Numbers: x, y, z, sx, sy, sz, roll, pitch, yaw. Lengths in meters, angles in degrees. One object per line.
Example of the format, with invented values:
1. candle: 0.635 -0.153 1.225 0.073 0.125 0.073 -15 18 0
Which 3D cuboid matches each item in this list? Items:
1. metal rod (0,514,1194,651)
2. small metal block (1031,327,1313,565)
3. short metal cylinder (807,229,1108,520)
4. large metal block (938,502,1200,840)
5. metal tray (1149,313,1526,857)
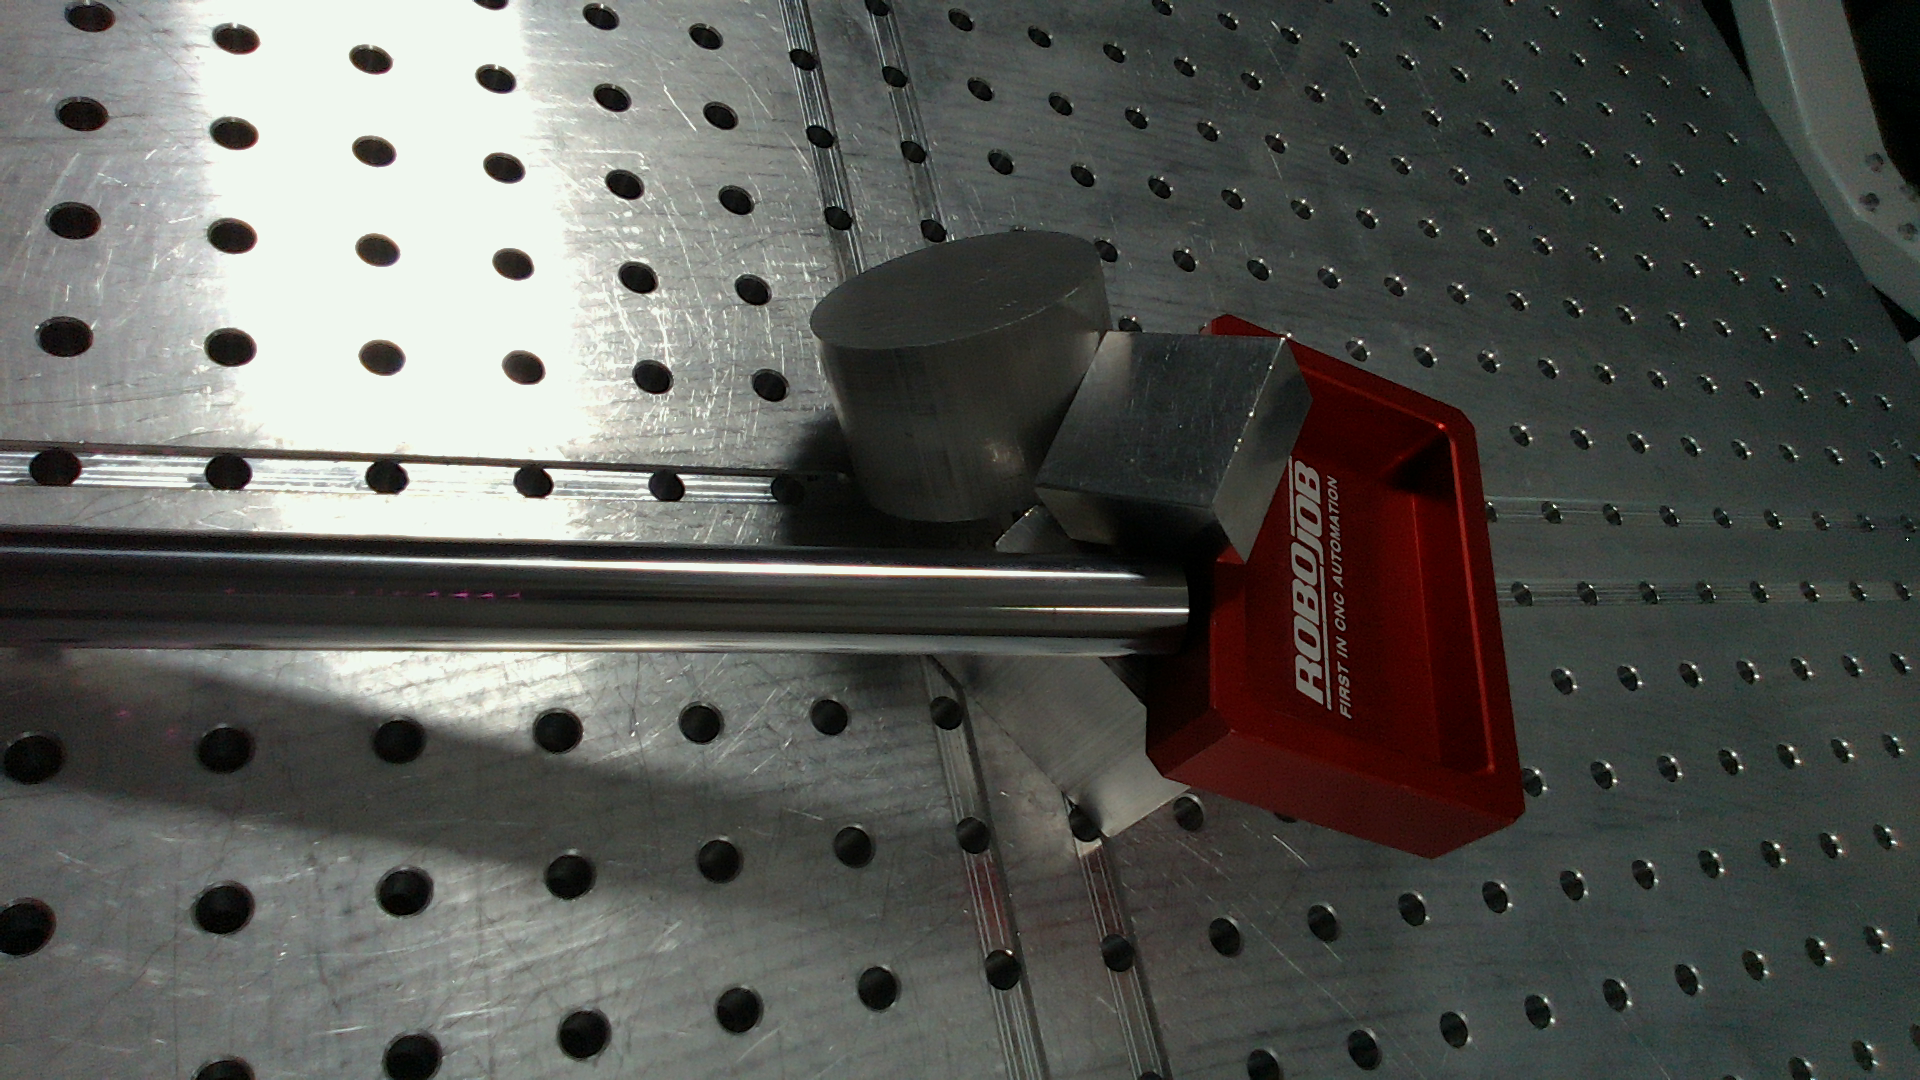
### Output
1. metal rod: -0.093 0.010 0.298 0.301 0.025 0.025 2 60 -14
2. small metal block: 0.053 -0.025 0.343 0.025 0.050 0.050 50 59 -45
3. short metal cylinder: 0.003 -0.048 0.380 0.080 0.080 0.050 -40 127 -39
4. large metal block: 0.048 0.022 0.387 0.080 0.050 0.080 46 51 4
5. metal tray: 0.098 0.009 0.368 0.090 0.030 0.130 19 54 -17
